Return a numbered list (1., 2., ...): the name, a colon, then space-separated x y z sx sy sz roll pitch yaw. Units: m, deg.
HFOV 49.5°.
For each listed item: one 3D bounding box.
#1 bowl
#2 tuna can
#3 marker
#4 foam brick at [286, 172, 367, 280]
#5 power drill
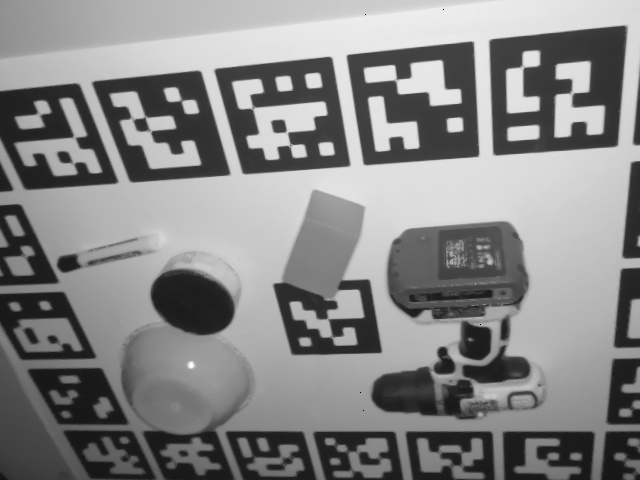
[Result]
1. bowl: -0.151 0.157 0.771 0.161 0.056 0.160 2 129 3
2. tuna can: -0.124 0.046 0.695 0.085 0.034 0.085 5 123 9
3. marker: -0.215 0.004 0.691 0.120 0.020 0.019 -12 118 17
4. foam brick: 0.006 -0.013 0.635 0.051 0.053 0.077 17 122 0
5. power drill: 0.137 0.076 0.665 0.183 0.058 0.186 -3 124 15
